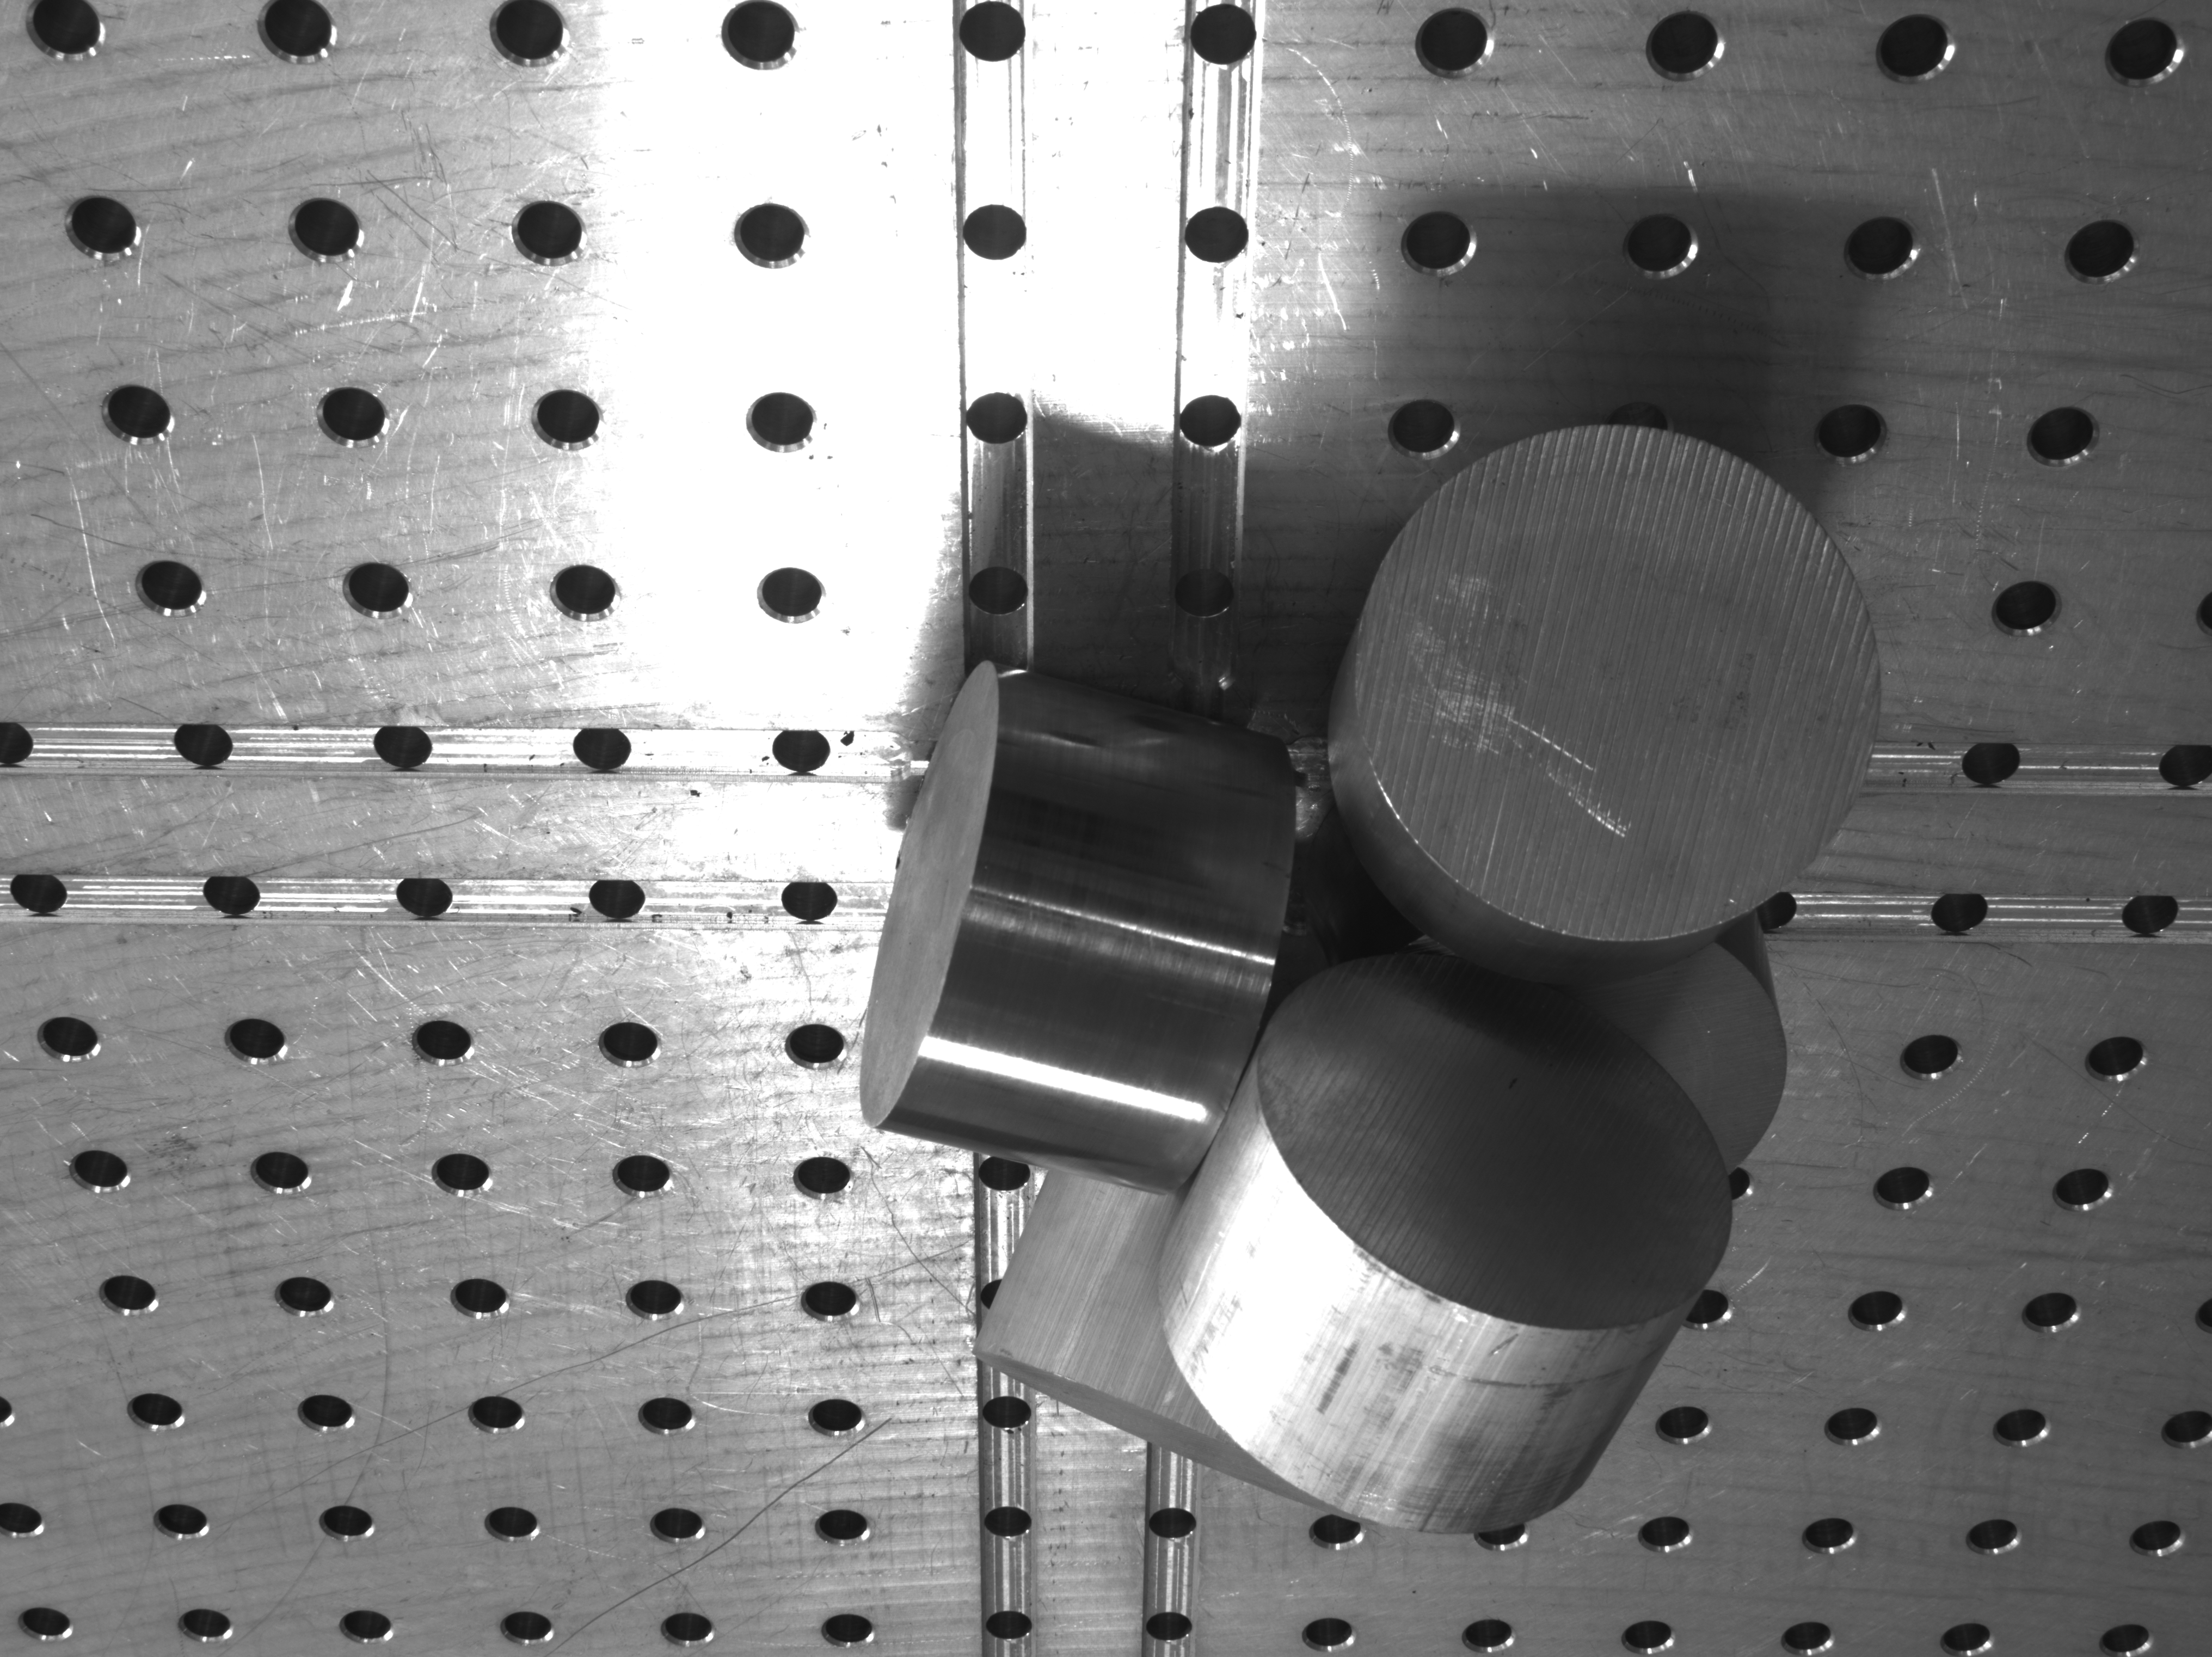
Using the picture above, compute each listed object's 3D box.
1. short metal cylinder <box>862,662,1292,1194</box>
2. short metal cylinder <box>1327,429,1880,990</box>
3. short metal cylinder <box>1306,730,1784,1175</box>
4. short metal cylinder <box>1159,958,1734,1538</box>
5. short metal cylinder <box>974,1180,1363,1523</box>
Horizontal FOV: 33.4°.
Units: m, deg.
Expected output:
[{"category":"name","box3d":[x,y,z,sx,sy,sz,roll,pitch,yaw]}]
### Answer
[{"category":"short metal cylinder","box3d":[-0.006,0.017,0.620,0.050,0.080,0.080,15,128,-12]},{"category":"short metal cylinder","box3d":[0.077,-0.017,0.582,0.080,0.080,0.050,2,170,-1]},{"category":"short metal cylinder","box3d":[0.076,0.028,0.648,0.080,0.050,0.080,0,129,0]},{"category":"short metal cylinder","box3d":[0.054,0.067,0.596,0.080,0.080,0.050,14,129,-11]},{"category":"short metal cylinder","box3d":[0.022,0.089,0.673,0.080,0.050,0.080,22,168,5]}]
